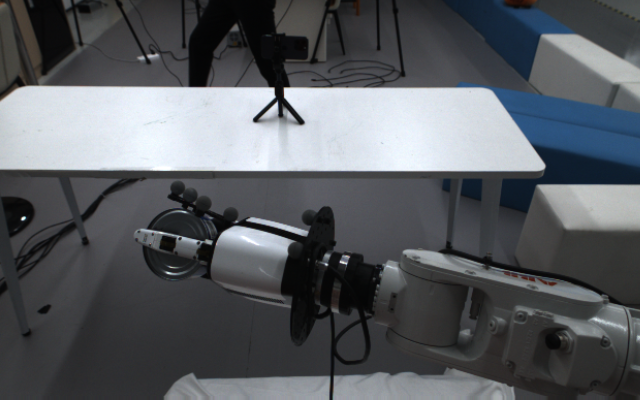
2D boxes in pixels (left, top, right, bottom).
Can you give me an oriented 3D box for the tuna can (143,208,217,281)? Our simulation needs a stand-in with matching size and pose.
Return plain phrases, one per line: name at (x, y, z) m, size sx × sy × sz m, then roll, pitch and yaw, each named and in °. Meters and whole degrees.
tuna can at (-0.163, 0.053, 0.578) m, size 0.085 × 0.085 × 0.034 m, roll 13°, pitch -5°, yaw 16°
